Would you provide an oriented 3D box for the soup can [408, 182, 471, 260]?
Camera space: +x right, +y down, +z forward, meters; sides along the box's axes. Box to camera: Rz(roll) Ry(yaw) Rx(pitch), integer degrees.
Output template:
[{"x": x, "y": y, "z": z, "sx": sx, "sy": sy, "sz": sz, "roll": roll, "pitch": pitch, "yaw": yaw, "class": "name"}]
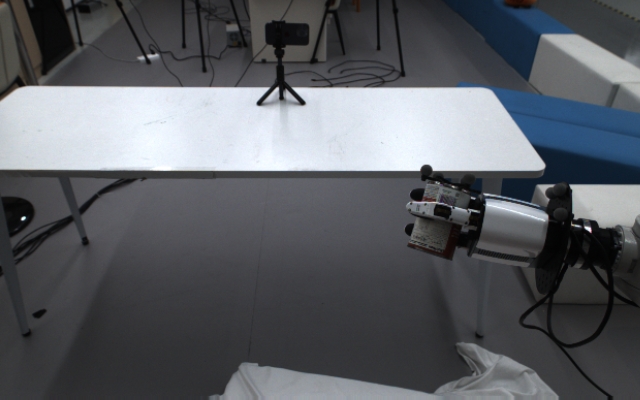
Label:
[{"x": 0.175, "y": 0.029, "z": 0.709, "sx": 0.067, "sy": 0.101, "sz": 0.067, "roll": 18, "pitch": -2, "yaw": 1, "class": "soup can"}]
